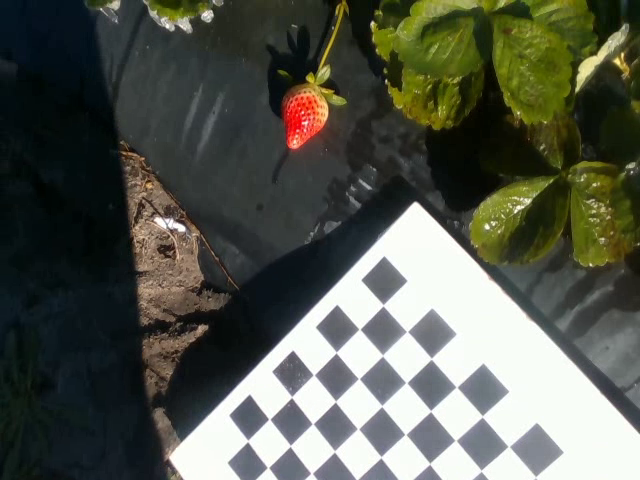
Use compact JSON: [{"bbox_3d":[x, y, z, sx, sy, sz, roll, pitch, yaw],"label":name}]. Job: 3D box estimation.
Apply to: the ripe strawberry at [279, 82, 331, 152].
[{"bbox_3d":[-0.012,-0.085,0.406,0.039,0.053,0.041,24,-11,18],"label":"ripe strawberry"}]
